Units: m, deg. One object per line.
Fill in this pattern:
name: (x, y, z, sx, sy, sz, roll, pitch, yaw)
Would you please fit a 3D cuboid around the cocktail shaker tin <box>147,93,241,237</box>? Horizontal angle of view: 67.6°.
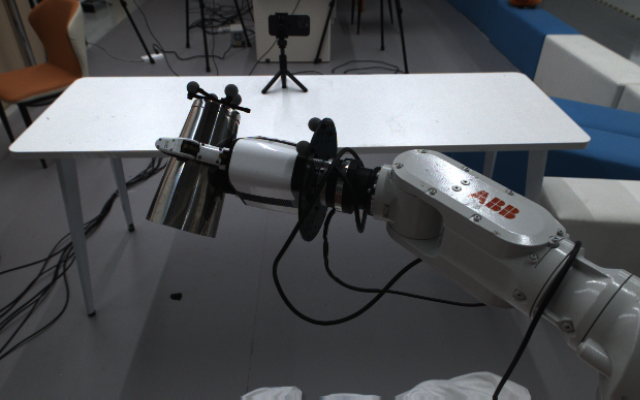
cocktail shaker tin: (-0.163, -0.043, 0.648, 0.093, 0.170, 0.093, 15, -6, 2)
